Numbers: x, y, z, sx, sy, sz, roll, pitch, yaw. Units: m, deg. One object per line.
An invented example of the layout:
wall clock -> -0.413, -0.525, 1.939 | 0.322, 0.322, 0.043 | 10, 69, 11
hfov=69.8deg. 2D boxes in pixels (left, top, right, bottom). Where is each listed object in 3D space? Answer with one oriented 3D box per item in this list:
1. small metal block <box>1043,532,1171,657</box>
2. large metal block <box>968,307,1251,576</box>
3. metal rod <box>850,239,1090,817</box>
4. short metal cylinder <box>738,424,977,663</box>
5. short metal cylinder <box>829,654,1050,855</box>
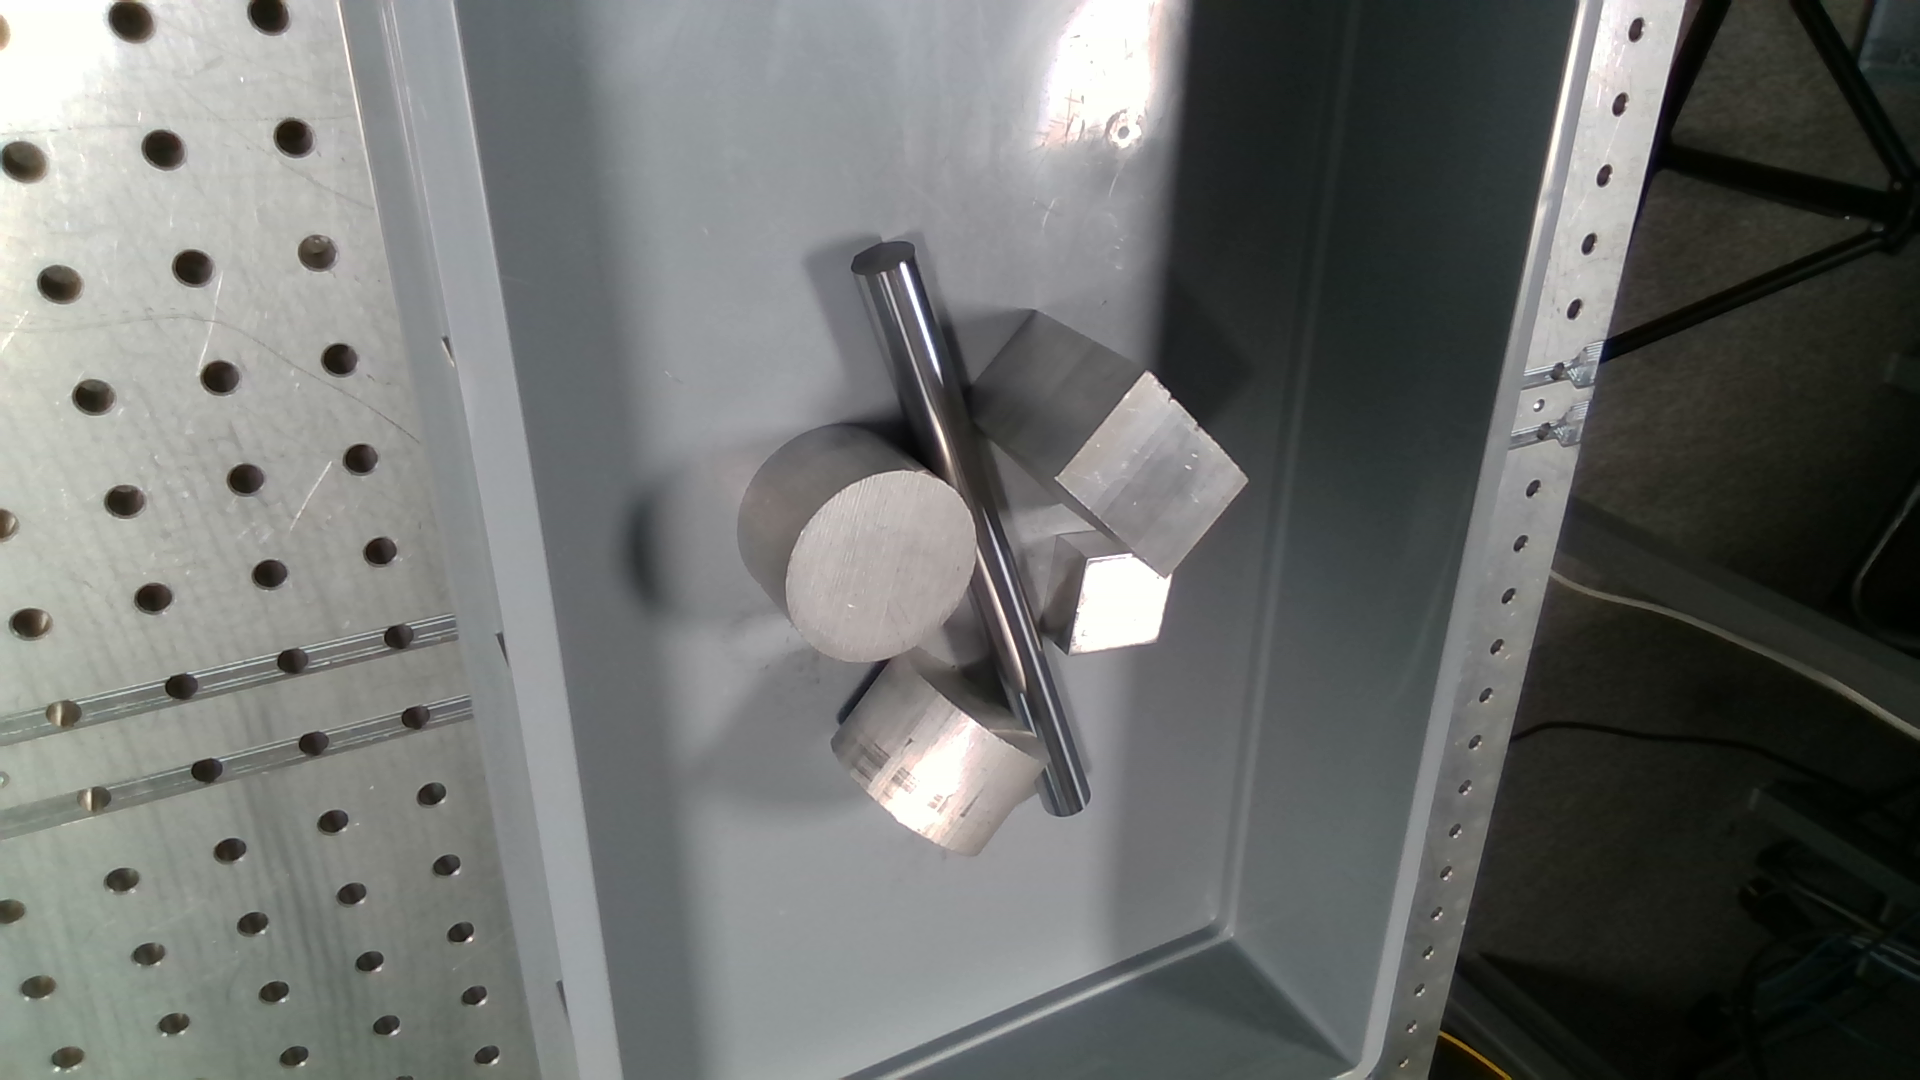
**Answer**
small metal block -> 0.068, 0.023, 0.633 | 0.050, 0.025, 0.050 | -6, 118, -29
large metal block -> 0.057, -0.041, 0.558 | 0.050, 0.080, 0.080 | -50, 129, 1
metal rod -> 0.012, 0.011, 0.593 | 0.025, 0.025, 0.301 | -30, 127, -15
short metal cylinder -> -0.041, 0.001, 0.538 | 0.080, 0.050, 0.080 | -14, 122, -25
short metal cylinder -> -0.009, 0.089, 0.587 | 0.080, 0.080, 0.050 | 33, 95, -39
